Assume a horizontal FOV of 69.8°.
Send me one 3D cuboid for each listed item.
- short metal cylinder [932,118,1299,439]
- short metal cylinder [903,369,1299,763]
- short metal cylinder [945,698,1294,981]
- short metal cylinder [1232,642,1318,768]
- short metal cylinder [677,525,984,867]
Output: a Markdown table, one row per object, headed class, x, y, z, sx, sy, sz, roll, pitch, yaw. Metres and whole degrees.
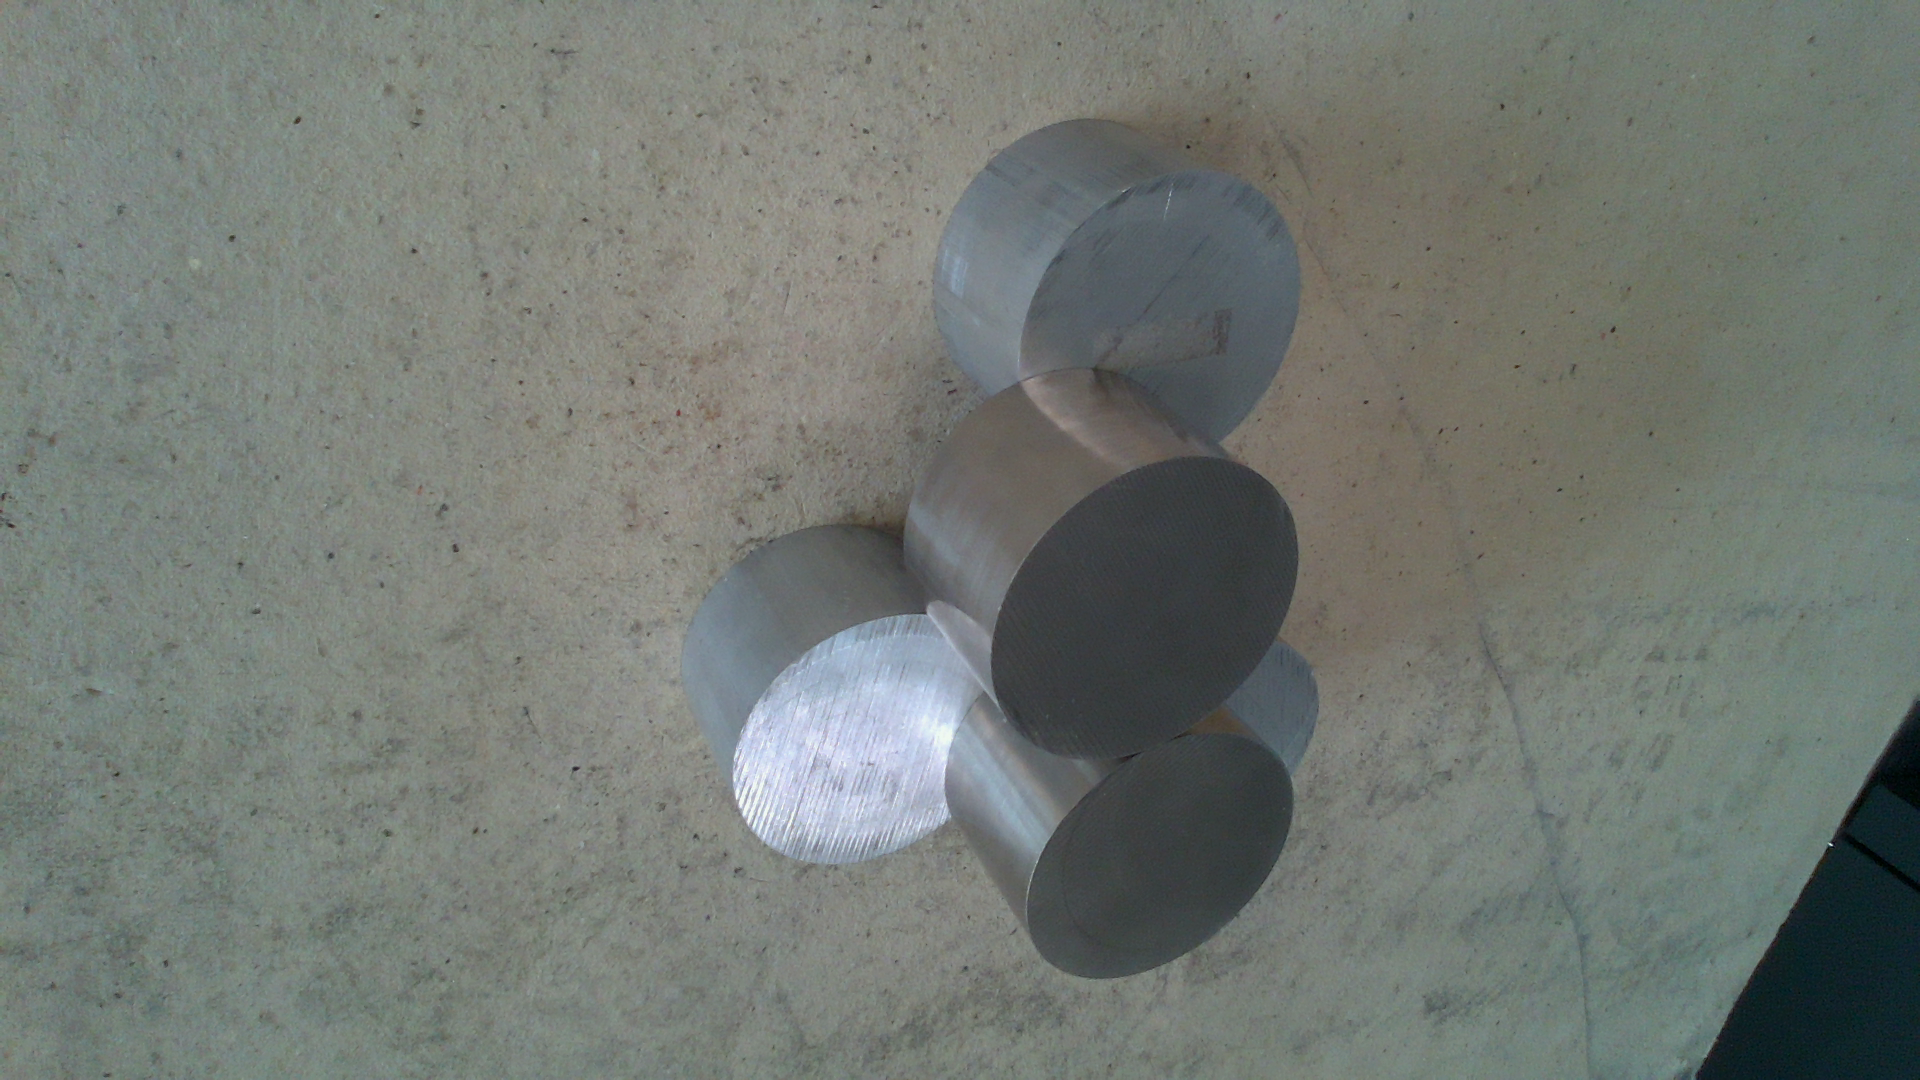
| class | x | y | z | sx | sy | sz | roll | pitch | yaw |
| --- | --- | --- | --- | --- | --- | --- | --- | --- | --- |
| short metal cylinder | 0.039 | -0.063 | 0.356 | 0.080 | 0.050 | 0.080 | -14 | 124 | -21 |
| short metal cylinder | 0.033 | 0.006 | 0.329 | 0.080 | 0.050 | 0.080 | -13 | 124 | -21 |
| short metal cylinder | 0.043 | 0.072 | 0.375 | 0.080 | 0.050 | 0.080 | -14 | 124 | -21 |
| short metal cylinder | 0.066 | 0.053 | 0.441 | 0.080 | 0.050 | 0.080 | -14 | 124 | -21 |
| short metal cylinder | -0.033 | 0.043 | 0.382 | 0.080 | 0.050 | 0.080 | -14 | 124 | -21 |
